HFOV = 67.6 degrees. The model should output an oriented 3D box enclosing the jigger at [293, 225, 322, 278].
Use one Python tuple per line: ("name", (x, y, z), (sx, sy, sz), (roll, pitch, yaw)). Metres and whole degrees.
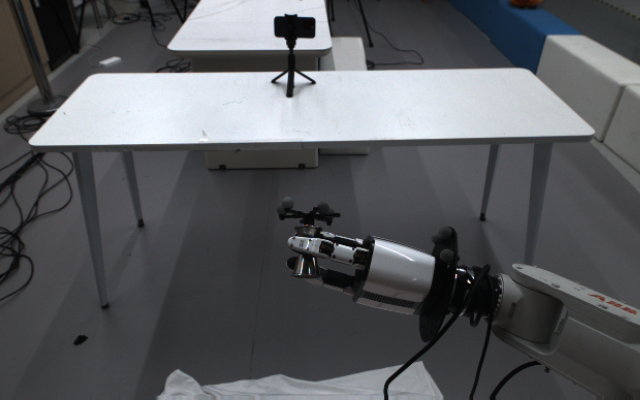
("jigger", (-0.018, 0.070, 0.661), (0.043, 0.043, 0.071), (3, 76, 1))
